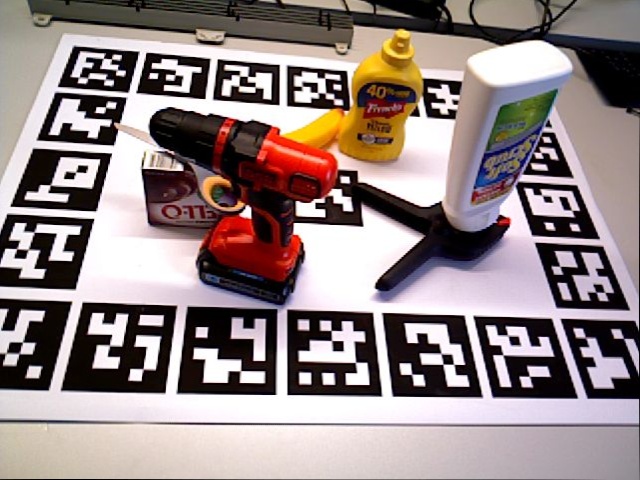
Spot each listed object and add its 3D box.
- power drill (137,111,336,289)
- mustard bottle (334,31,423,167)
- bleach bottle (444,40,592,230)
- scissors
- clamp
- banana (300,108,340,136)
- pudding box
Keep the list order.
[{"bbox_3d":[-0.085,-0.040,0.541,0.184,0.191,0.056,13,45,3],"label":"power drill"},{"bbox_3d":[0.083,-0.185,0.716,0.096,0.196,0.057,16,52,0],"label":"mustard bottle"},{"bbox_3d":[0.201,-0.095,0.610,0.101,0.256,0.067,-15,53,-13],"label":"bleach bottle"},{"bbox_3d":[-0.156,-0.109,0.596,0.202,0.016,0.086,26,58,4],"label":"scissors"},{"bbox_3d":[0.152,-0.021,0.681,0.200,0.037,0.163,-1,56,-12],"label":"clamp"},{"bbox_3d":[-0.034,-0.164,0.764,0.193,0.039,0.074,-32,48,-28],"label":"banana"},{"bbox_3d":[-0.157,-0.064,0.644,0.113,0.092,0.038,7,46,-5],"label":"pudding box"}]
